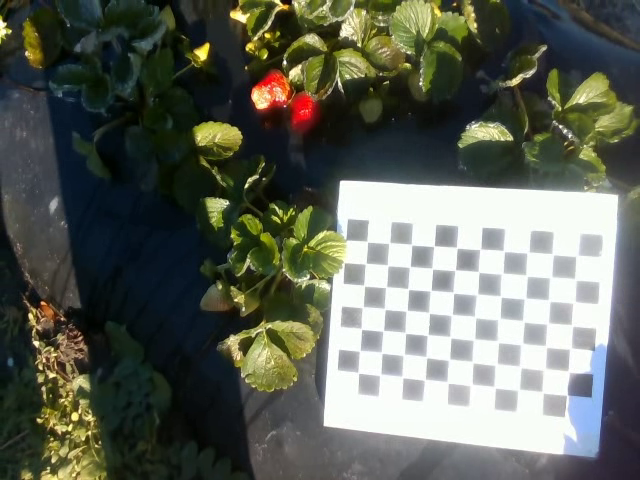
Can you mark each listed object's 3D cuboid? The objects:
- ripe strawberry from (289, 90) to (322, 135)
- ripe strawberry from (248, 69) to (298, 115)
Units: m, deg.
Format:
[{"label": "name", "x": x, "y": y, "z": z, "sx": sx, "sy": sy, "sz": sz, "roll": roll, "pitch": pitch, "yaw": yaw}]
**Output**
[{"label": "ripe strawberry", "x": -0.024, "y": -0.176, "z": 0.806, "sx": 0.043, "sy": 0.059, "sz": 0.040, "roll": 4, "pitch": -5, "yaw": 10}, {"label": "ripe strawberry", "x": -0.068, "y": -0.202, "z": 0.824, "sx": 0.069, "sy": 0.053, "sz": 0.040, "roll": -40, "pitch": 0, "yaw": 0}]
